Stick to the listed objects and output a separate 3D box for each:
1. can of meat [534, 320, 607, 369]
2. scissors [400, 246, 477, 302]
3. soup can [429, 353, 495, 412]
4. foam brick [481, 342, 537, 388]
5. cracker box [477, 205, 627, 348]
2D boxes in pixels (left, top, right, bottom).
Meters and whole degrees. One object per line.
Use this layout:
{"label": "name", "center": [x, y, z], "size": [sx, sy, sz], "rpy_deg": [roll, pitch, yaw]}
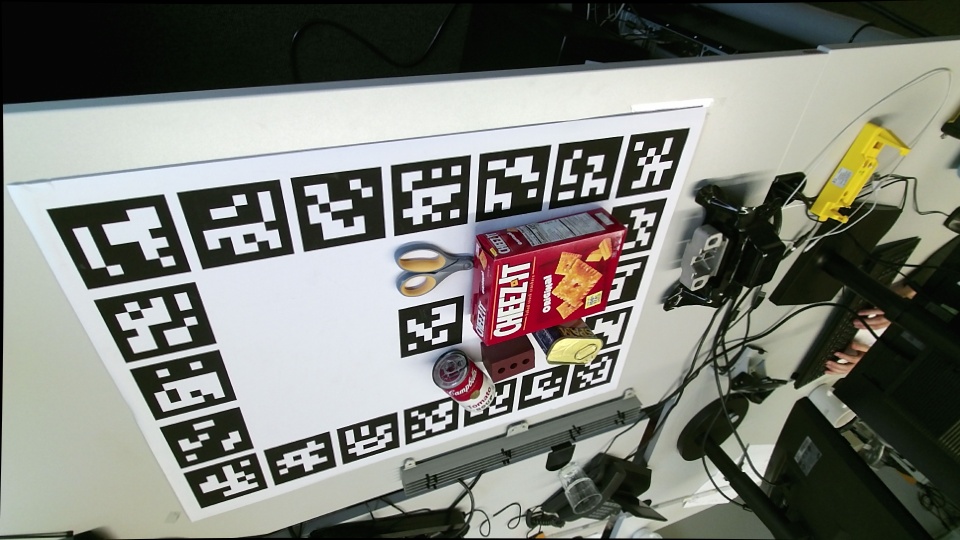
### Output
{"label": "can of meat", "center": [0.146, 0.115, 0.895], "size": [0.102, 0.083, 0.058], "rpy_deg": [1, 121, -28]}
{"label": "scissors", "center": [-0.010, -0.011, 0.755], "size": [0.203, 0.016, 0.088], "rpy_deg": [-15, 128, -18]}
{"label": "soup can", "center": [-0.028, 0.188, 0.881], "size": [0.068, 0.067, 0.102], "rpy_deg": [-41, 137, 4]}
{"label": "foam brick", "center": [0.049, 0.149, 0.895], "size": [0.078, 0.051, 0.053], "rpy_deg": [-20, 129, -14]}
{"label": "cracker box", "center": [0.107, 0.013, 0.792], "size": [0.214, 0.072, 0.164], "rpy_deg": [-18, 130, -20]}
